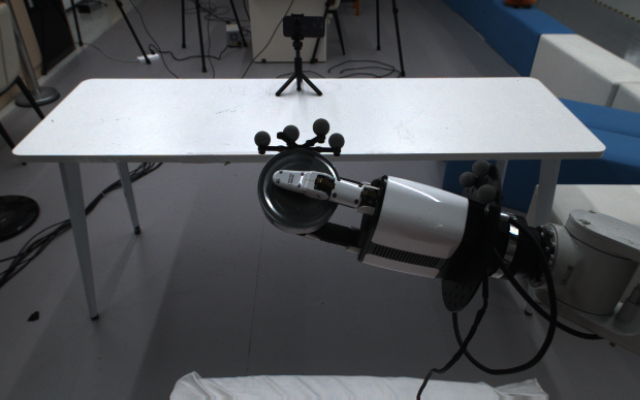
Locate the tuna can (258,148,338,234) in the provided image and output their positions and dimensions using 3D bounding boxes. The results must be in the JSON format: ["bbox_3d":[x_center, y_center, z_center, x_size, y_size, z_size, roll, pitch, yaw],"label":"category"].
[{"bbox_3d":[-0.019,-0.005,0.501,0.085,0.034,0.085,1,70,-4],"label":"tuna can"}]
